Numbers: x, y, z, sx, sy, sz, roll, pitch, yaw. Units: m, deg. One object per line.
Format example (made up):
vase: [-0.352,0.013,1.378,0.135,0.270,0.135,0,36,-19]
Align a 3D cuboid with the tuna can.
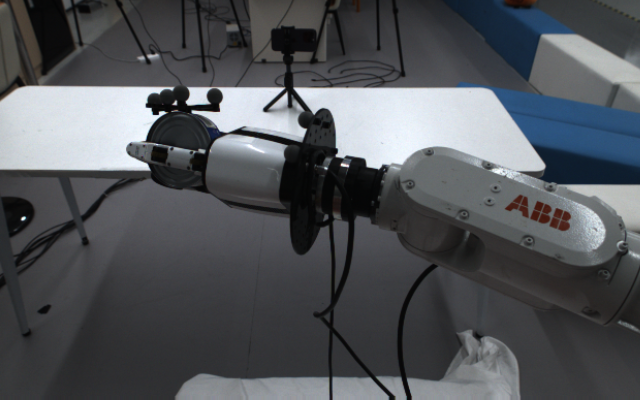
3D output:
tuna can: [-0.152,-0.057,0.555,0.085,0.085,0.034,15,9,18]
